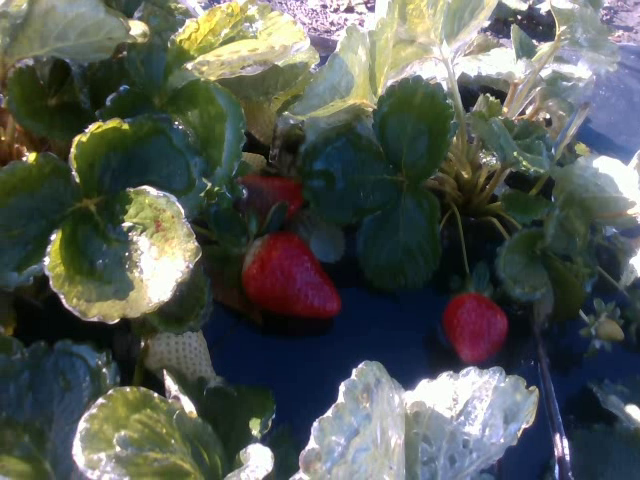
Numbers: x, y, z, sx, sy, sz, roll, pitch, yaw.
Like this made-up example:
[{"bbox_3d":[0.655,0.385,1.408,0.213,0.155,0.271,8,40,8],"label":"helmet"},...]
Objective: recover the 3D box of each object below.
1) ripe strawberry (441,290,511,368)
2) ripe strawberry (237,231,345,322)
[{"bbox_3d":[0.080,0.047,0.315,0.039,0.047,0.040,31,-36,-10],"label":"ripe strawberry"},{"bbox_3d":[-0.010,0.020,0.304,0.056,0.044,0.040,41,-27,-5],"label":"ripe strawberry"}]
